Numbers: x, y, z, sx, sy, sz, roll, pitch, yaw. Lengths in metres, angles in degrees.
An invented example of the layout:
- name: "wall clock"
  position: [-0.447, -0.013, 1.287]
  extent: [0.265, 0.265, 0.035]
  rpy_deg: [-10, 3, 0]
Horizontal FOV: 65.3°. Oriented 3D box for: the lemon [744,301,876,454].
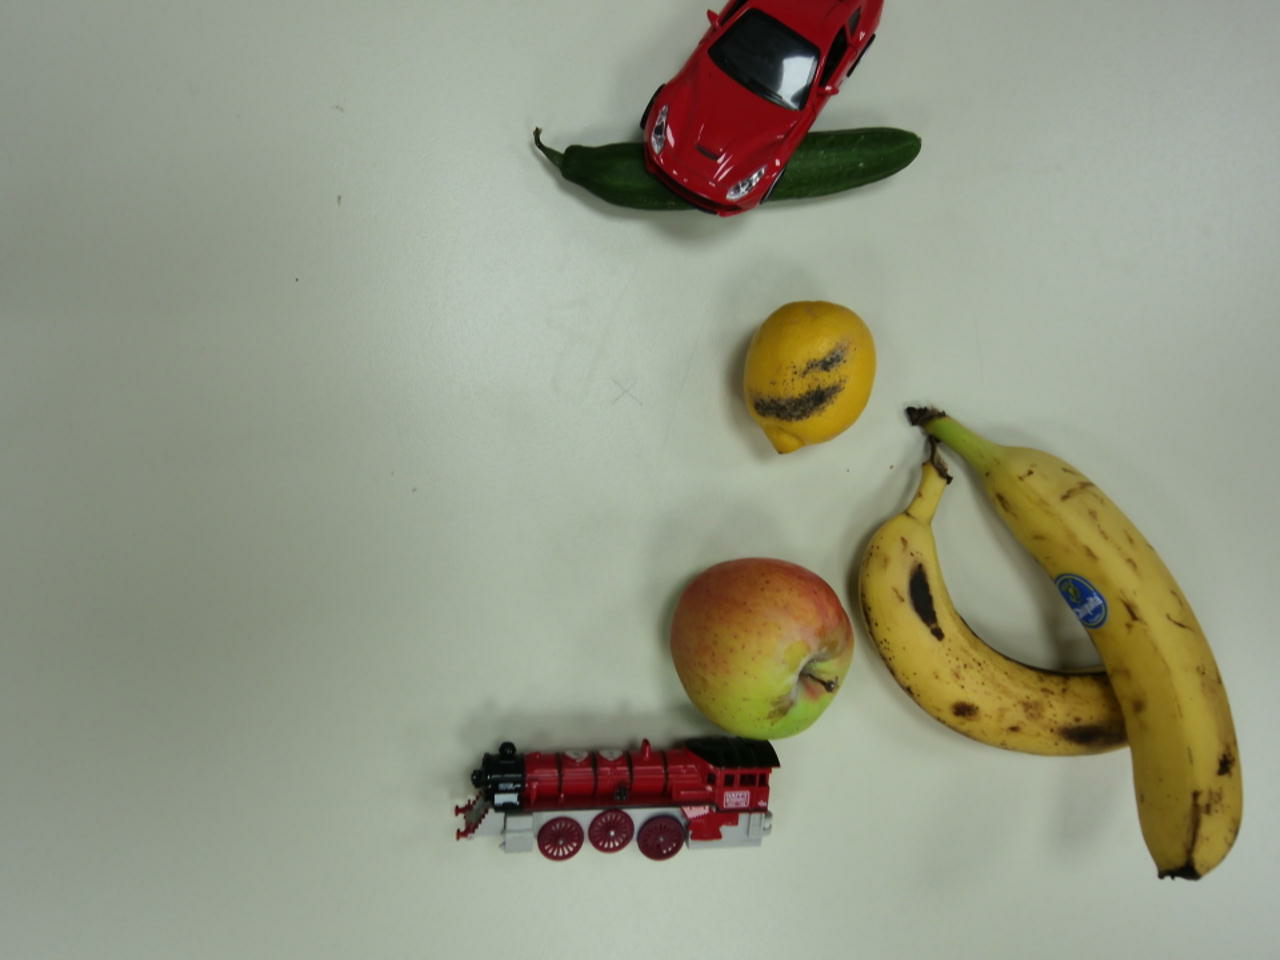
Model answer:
- name: "lemon"
  position: [0.073, -0.046, 0.428]
  extent: [0.058, 0.056, 0.061]
  rpy_deg: [-18, 94, -11]
